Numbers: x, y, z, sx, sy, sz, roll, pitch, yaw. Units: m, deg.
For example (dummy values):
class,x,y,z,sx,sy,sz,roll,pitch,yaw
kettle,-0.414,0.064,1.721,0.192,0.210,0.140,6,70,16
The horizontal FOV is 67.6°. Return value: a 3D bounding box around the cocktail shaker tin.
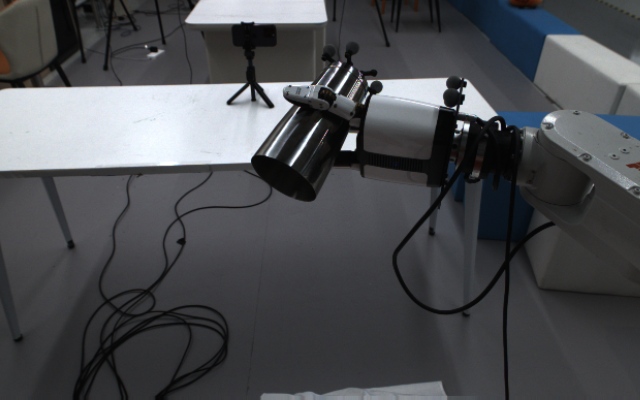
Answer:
class,x,y,z,sx,sy,sz,roll,pitch,yaw
cocktail shaker tin,-0.003,-0.097,0.616,0.093,0.093,0.170,20,67,24
